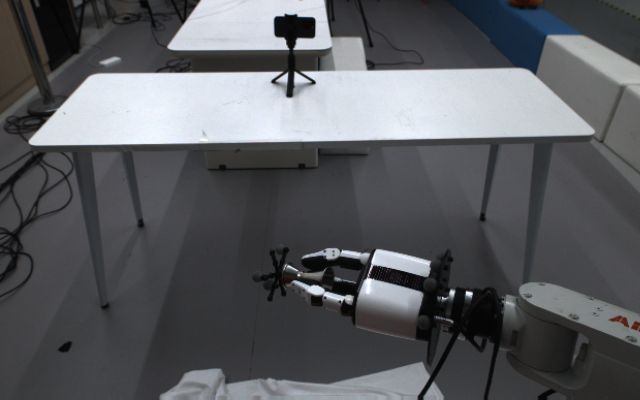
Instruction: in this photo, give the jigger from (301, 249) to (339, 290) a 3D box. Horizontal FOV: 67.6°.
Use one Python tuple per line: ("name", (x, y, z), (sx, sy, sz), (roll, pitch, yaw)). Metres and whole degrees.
("jigger", (-0.011, 0.110, 0.723), (0.071, 0.043, 0.043), (3, 32, 26))
